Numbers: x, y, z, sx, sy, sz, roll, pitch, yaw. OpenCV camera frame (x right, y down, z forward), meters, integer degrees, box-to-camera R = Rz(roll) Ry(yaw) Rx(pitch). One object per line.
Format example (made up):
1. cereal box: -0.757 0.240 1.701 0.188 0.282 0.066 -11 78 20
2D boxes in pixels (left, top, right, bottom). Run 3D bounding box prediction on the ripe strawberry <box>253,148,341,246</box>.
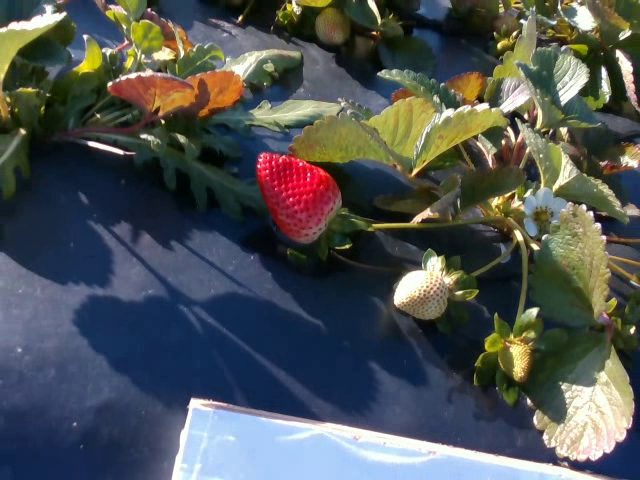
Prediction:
1. ripe strawberry: -0.012 -0.023 0.275 0.053 0.044 0.036 41 -9 -11
